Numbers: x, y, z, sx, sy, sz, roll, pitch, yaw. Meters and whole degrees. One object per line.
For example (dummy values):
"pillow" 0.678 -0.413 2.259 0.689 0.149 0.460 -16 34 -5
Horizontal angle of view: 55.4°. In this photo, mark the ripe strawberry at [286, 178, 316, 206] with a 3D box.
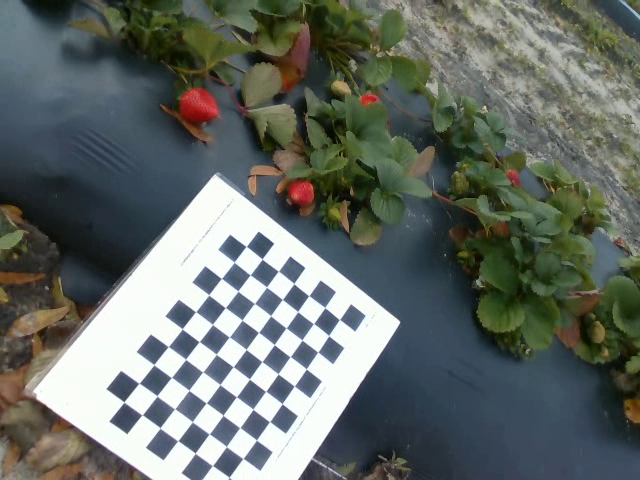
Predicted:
"ripe strawberry" -0.024 -0.054 0.737 0.037 0.041 0.042 -37 8 22

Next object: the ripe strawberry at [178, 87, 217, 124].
"ripe strawberry" -0.138 -0.155 0.712 0.065 0.047 0.043 28 -21 41
